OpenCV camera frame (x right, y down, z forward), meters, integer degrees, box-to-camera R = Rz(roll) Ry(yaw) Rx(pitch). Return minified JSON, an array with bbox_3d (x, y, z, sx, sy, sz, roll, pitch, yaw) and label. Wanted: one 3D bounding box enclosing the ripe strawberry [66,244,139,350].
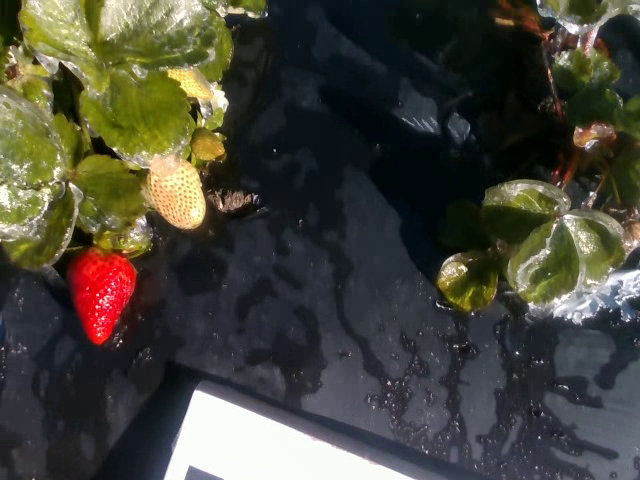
[{"bbox_3d":[-0.126,0.034,0.288,0.041,0.052,0.040,4,-2,3],"label":"ripe strawberry"}]
